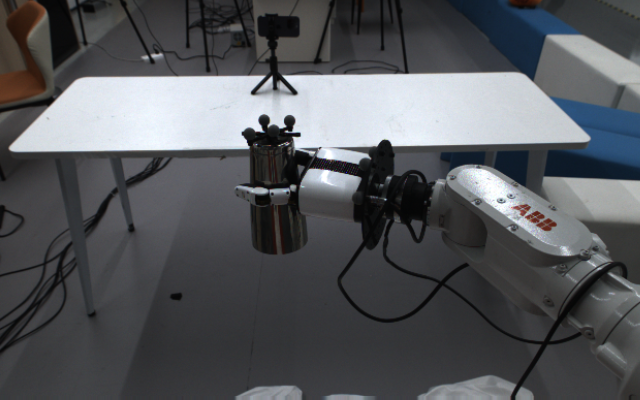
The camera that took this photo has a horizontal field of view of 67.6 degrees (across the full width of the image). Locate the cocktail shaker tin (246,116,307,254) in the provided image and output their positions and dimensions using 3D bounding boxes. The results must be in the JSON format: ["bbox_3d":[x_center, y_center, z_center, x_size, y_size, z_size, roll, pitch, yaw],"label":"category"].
[{"bbox_3d":[-0.067,-0.013,0.747,0.093,0.170,0.093,-2,26,1],"label":"cocktail shaker tin"}]
